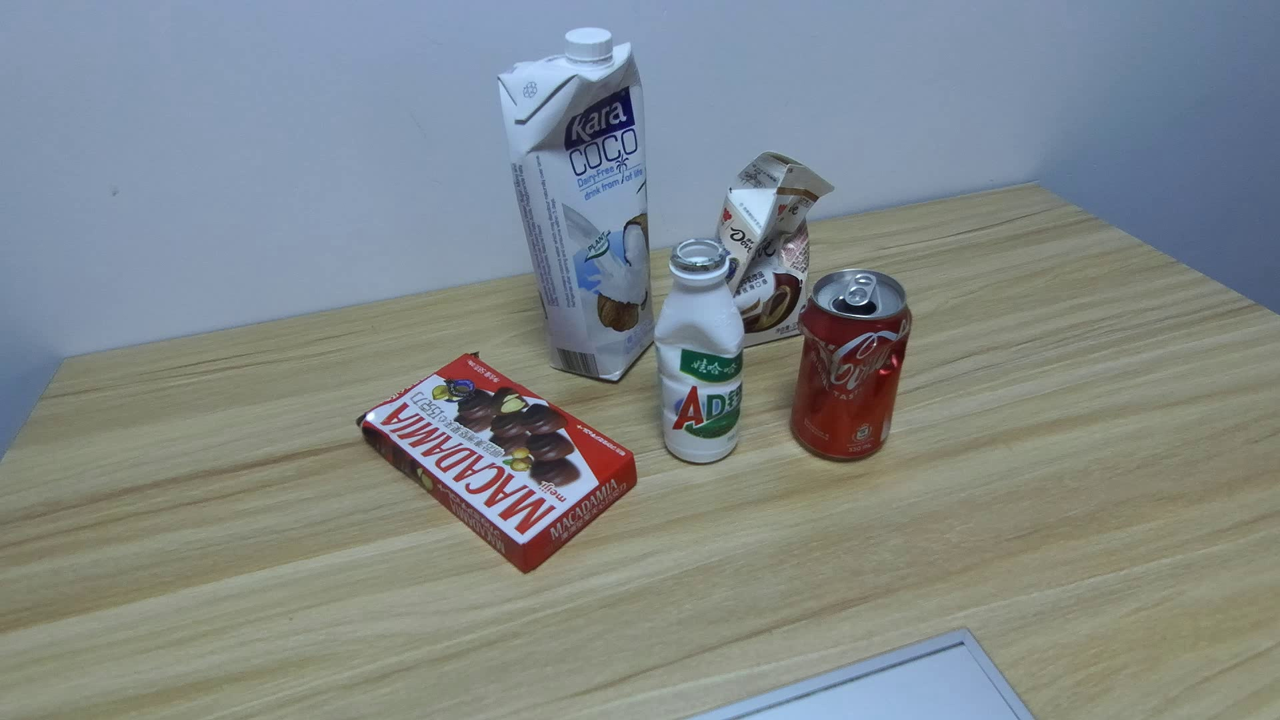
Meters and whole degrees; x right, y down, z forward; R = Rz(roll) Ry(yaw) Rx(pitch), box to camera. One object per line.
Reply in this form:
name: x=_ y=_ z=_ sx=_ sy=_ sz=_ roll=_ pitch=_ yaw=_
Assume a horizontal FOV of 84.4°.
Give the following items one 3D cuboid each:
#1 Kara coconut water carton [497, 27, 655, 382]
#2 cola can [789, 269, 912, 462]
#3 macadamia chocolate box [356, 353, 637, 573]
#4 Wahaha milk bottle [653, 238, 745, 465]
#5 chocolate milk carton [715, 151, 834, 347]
Kara coconut water carton: x=-0.037 y=-0.103 z=0.502 sx=0.069 sy=0.239 sz=0.115 roll=14 pitch=38 yaw=26
cola can: x=0.132 y=0.003 z=0.448 sx=0.066 sy=0.117 sz=0.066 roll=-15 pitch=38 yaw=-15
macadamia chocolate box: x=-0.099 y=0.057 z=0.476 sx=0.182 sy=0.028 sz=0.106 roll=27 pitch=47 yaw=34
Wahaha milk bottle: x=0.037 y=-0.002 z=0.436 sx=0.056 sy=0.148 sz=0.056 roll=-1 pitch=39 yaw=1
chocolate milk carton: x=0.099 y=-0.090 z=0.549 sx=0.089 sy=0.155 sz=0.076 roll=-5 pitch=42 yaw=-22
